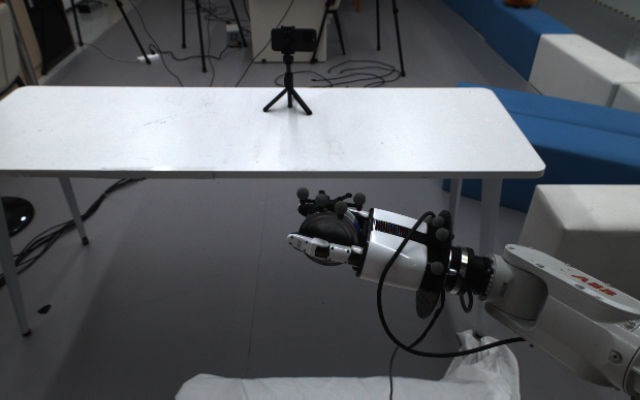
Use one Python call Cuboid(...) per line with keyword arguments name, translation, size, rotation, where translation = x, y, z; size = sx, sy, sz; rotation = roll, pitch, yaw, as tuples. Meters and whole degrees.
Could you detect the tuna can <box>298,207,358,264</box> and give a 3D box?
Cuboid(name="tuna can", translation=(0.015, 0.048, 0.691), size=(0.085, 0.085, 0.034), rotation=(9, 23, 10))
